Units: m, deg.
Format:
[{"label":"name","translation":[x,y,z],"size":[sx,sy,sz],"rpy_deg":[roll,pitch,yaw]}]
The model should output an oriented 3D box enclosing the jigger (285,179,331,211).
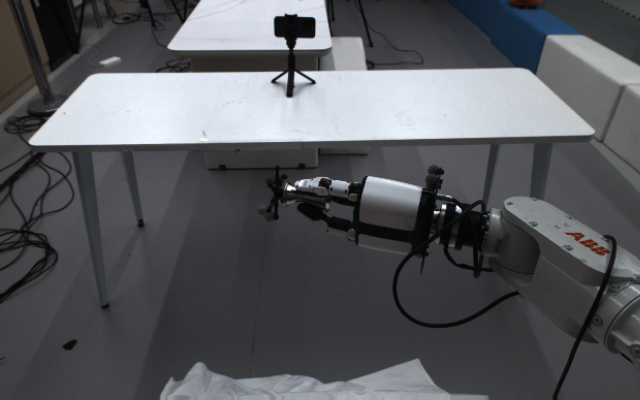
[{"label":"jigger","translation":[-0.013,-0.010,0.757],"size":[0.071,0.043,0.043],"rpy_deg":[7,35,11]}]
